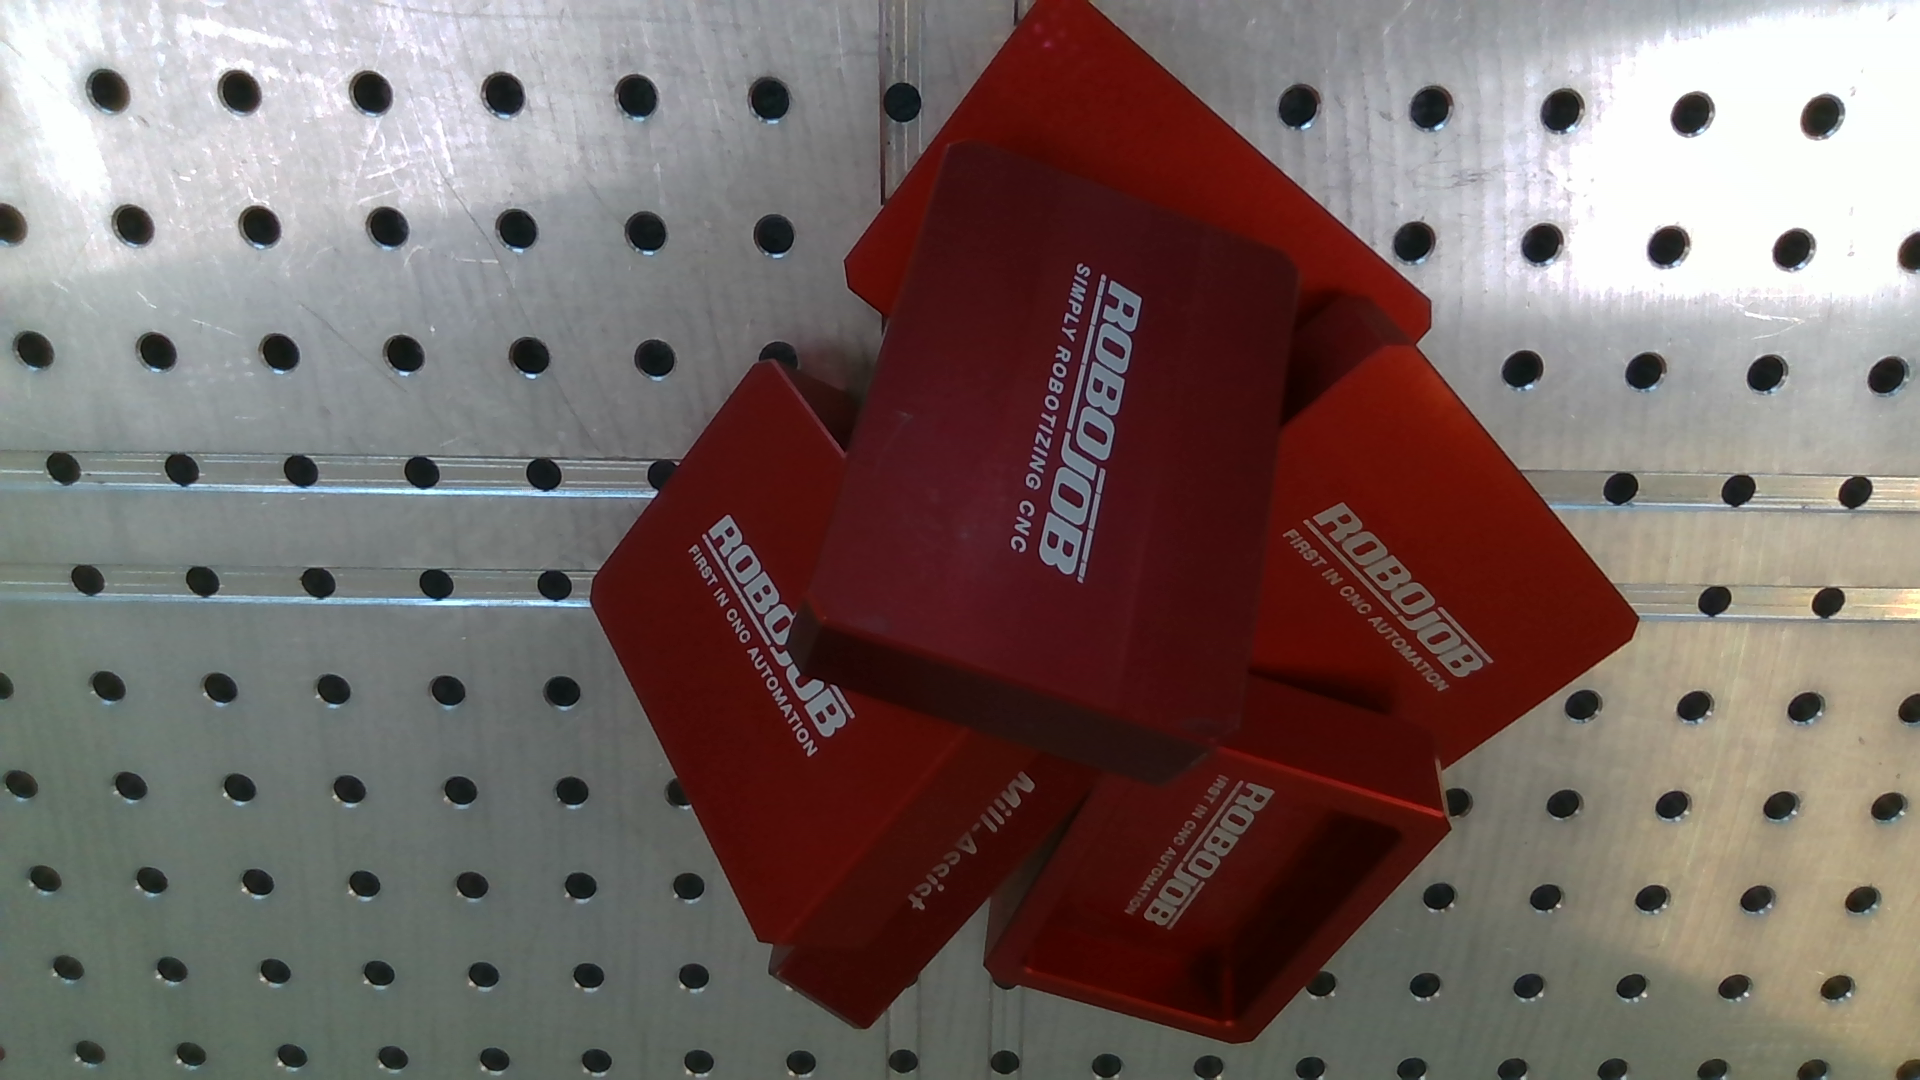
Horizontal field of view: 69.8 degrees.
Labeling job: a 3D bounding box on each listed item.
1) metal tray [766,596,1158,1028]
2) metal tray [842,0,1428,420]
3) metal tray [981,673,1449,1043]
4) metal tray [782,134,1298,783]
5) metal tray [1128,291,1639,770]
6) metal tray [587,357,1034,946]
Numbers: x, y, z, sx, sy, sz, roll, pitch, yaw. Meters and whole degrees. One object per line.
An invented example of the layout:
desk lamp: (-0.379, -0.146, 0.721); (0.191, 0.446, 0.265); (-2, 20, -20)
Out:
metal tray: (0.001, 0.059, 0.382); (0.030, 0.090, 0.130); (37, 106, -12)
metal tray: (0.046, -0.069, 0.368); (0.130, 0.030, 0.090); (37, 107, -12)
metal tray: (0.068, 0.093, 0.401); (0.090, 0.030, 0.130); (17, 132, -6)
metal tray: (0.022, -0.022, 0.307); (0.090, 0.130, 0.030); (18, 151, -7)
metal tray: (0.112, 0.007, 0.376); (0.090, 0.030, 0.130); (-41, 119, 17)
metal tray: (-0.040, 0.025, 0.354); (0.090, 0.130, 0.030); (-50, 141, 15)
